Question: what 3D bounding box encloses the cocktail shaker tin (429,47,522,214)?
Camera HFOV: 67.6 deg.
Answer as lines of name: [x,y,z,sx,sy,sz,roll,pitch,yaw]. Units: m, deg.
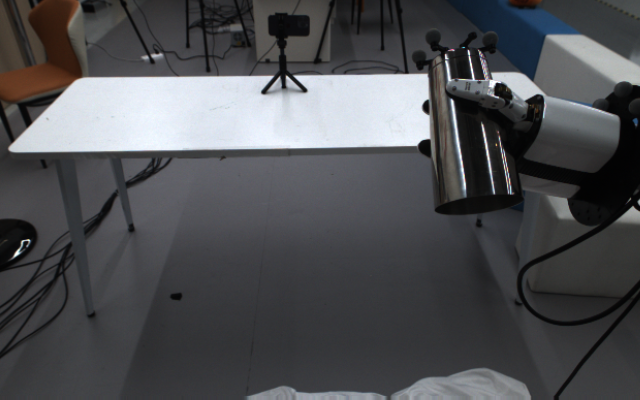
cocktail shaker tin: [0.165,-0.076,0.537,0.093,0.093,0.170,-3,76,-8]
